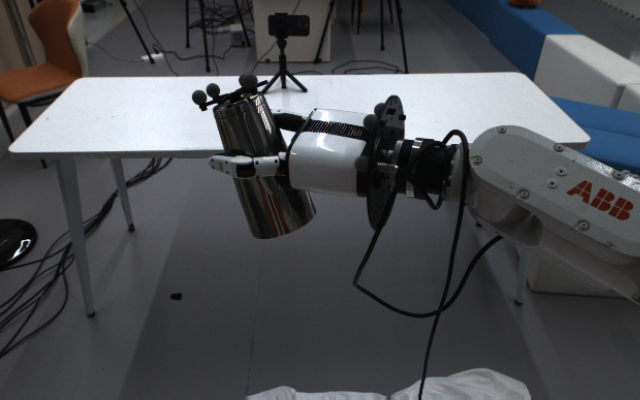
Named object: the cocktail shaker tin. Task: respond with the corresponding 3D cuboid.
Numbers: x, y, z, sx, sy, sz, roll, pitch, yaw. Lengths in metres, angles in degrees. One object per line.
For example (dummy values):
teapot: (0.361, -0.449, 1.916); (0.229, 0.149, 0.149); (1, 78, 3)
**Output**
cocktail shaker tin: (-0.074, -0.046, 0.620); (0.093, 0.170, 0.093); (-17, 20, 7)
